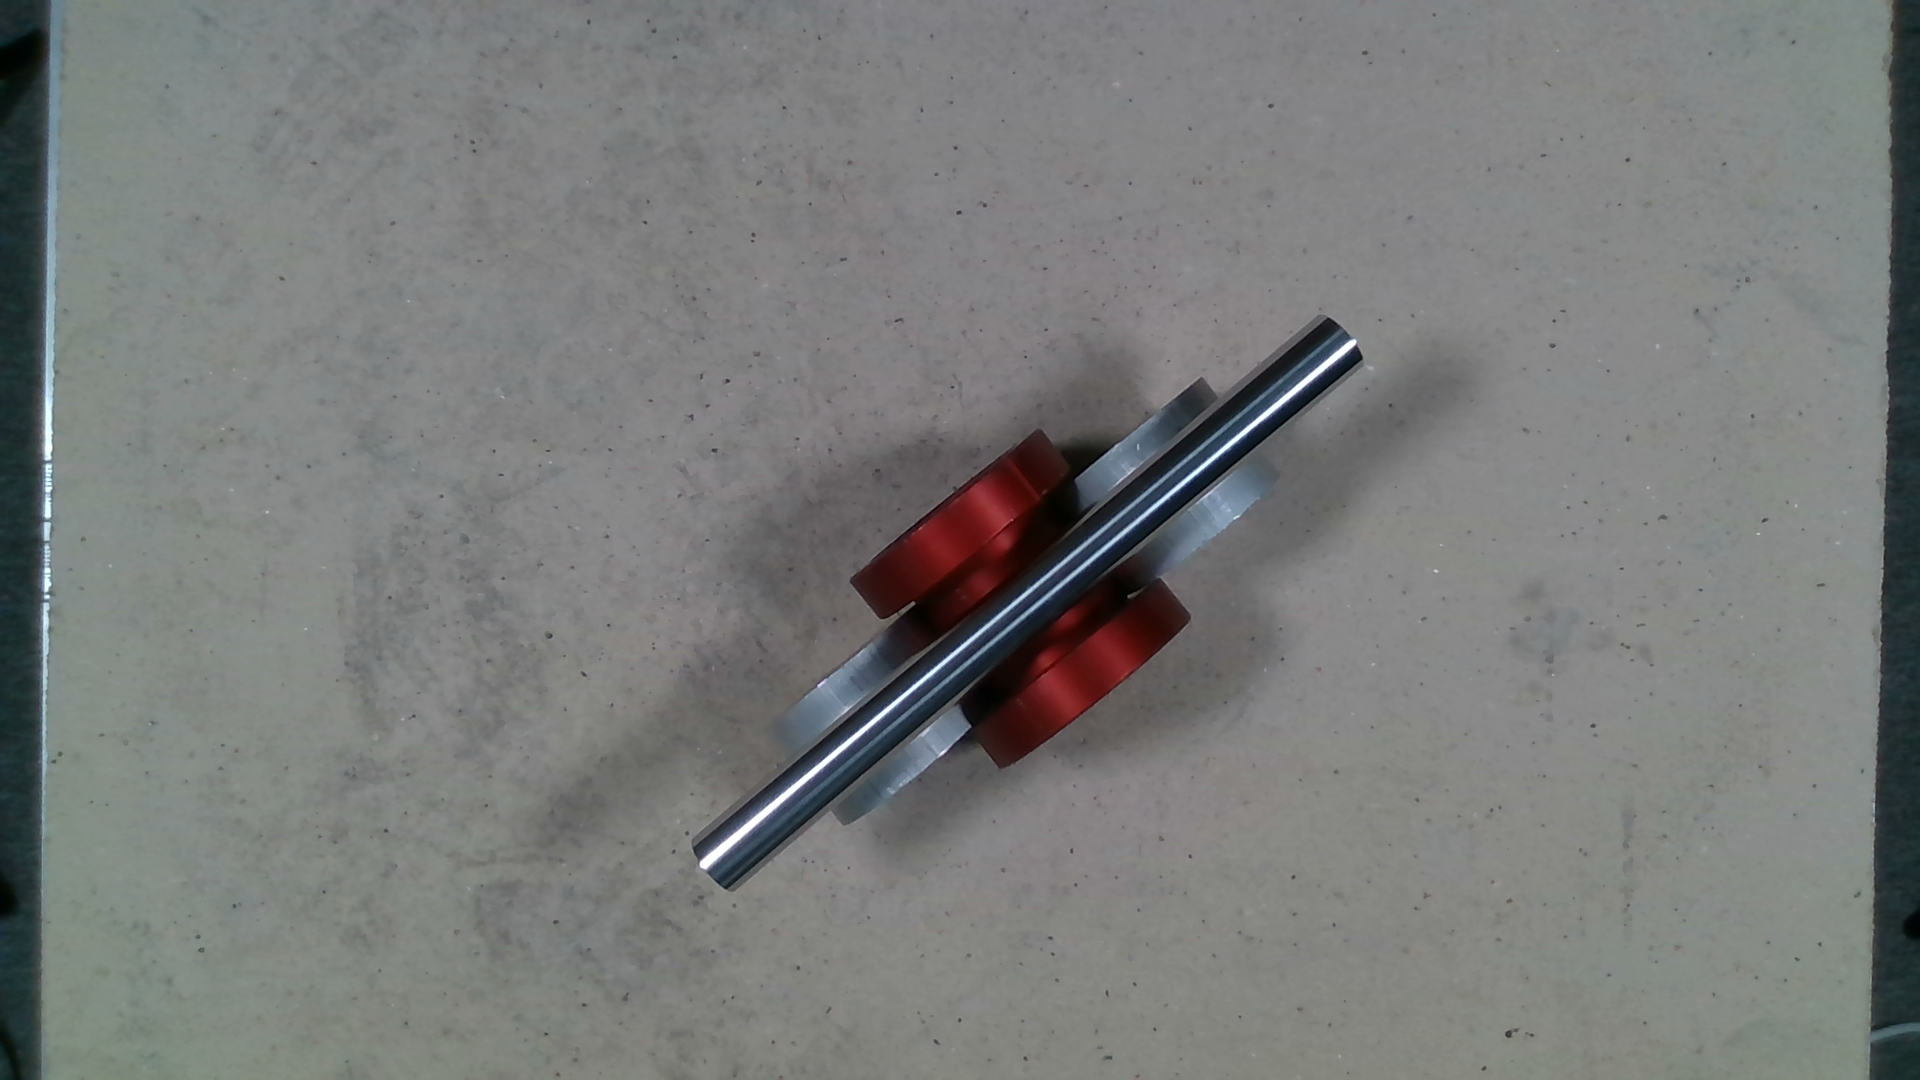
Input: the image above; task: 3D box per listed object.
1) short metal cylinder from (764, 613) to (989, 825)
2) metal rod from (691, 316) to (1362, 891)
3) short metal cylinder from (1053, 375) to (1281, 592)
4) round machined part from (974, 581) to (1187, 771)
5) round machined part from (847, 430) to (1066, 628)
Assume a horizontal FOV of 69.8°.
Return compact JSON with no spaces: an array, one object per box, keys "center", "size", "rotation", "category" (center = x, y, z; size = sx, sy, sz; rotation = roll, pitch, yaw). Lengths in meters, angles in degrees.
[{"center":[-0.033,0.070,0.560],"size":[0.080,0.080,0.050],"rotation":[-39,90,0],"category":"short metal cylinder"},{"center":[0.024,0.023,0.508],"size":[0.300,0.025,0.025],"rotation":[-40,90,0],"category":"metal rod"},{"center":[0.082,-0.022,0.559],"size":[0.080,0.080,0.050],"rotation":[-39,90,0],"category":"short metal cylinder"},{"center":[0.041,0.046,0.551],"size":[0.098,0.098,0.042],"rotation":[-39,86,0],"category":"round machined part"},{"center":[0.005,0.002,0.549],"size":[0.098,0.098,0.042],"rotation":[-39,94,0],"category":"round machined part"}]
